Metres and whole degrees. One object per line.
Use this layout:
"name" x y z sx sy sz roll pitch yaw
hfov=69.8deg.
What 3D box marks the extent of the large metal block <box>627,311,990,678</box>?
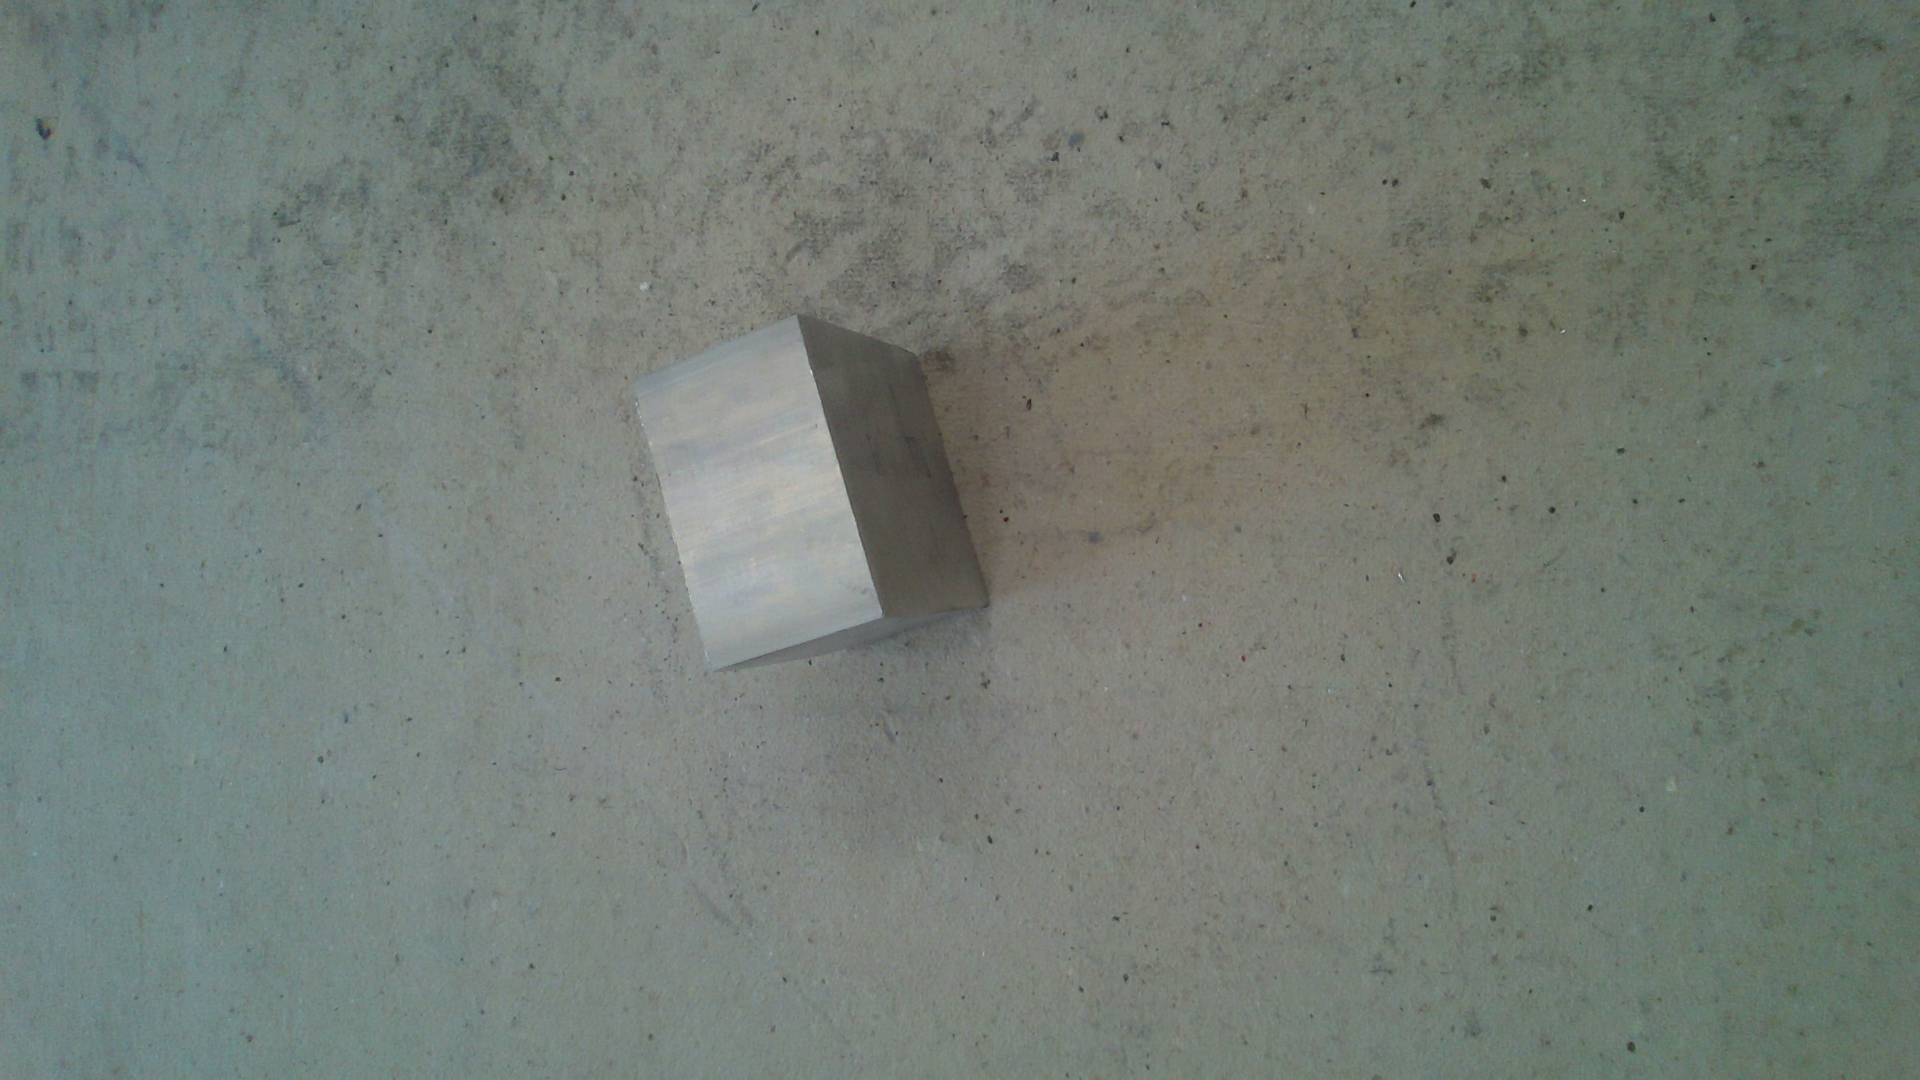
"large metal block" -0.039 -0.011 0.380 0.050 0.080 0.080 -18 84 19
